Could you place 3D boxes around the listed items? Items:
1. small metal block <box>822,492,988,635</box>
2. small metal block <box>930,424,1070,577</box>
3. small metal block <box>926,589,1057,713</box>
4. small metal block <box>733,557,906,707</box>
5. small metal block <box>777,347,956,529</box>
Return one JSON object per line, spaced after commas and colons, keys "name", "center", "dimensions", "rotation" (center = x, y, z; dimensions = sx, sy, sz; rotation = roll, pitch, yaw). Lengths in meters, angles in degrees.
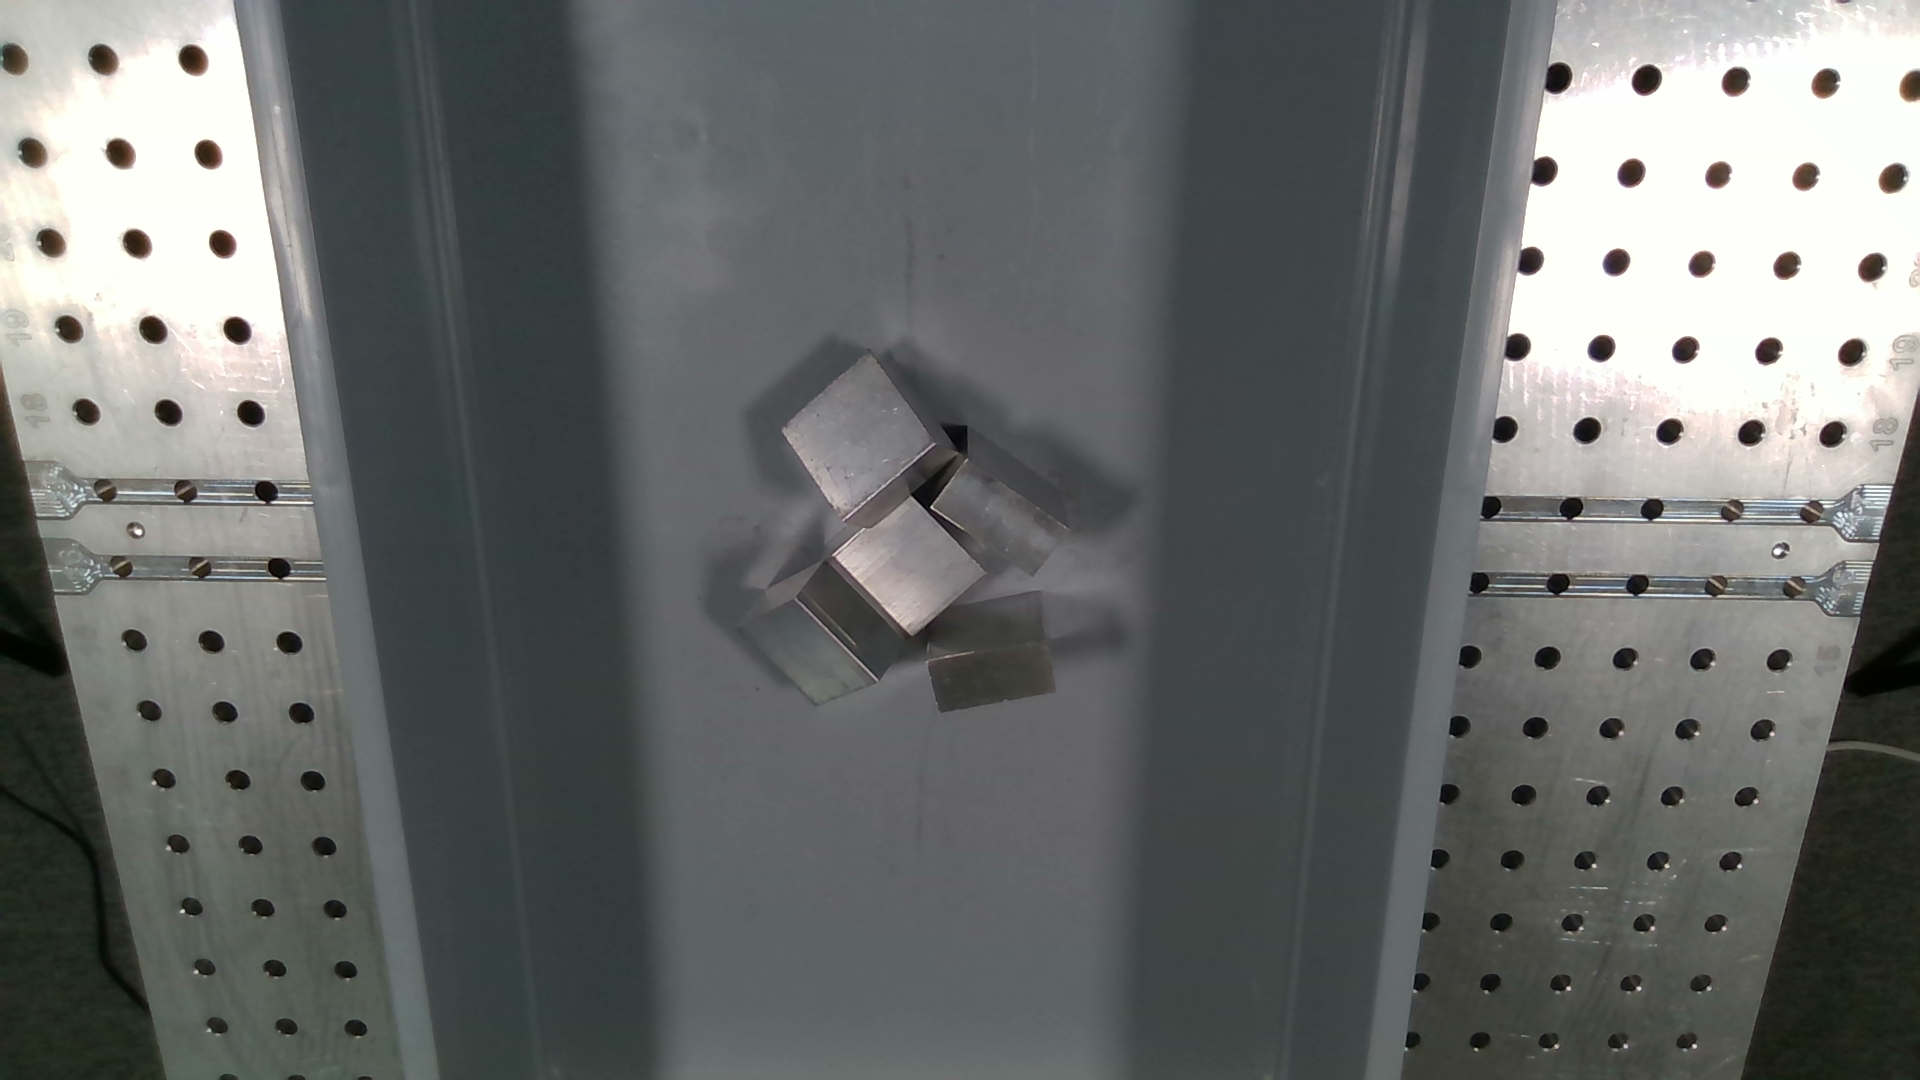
{"name": "small metal block", "center": [-0.024, 0.007, 0.585], "dimensions": [0.050, 0.025, 0.050], "rotation": [-40, 105, 13]}
{"name": "small metal block", "center": [0.016, -0.017, 0.563], "dimensions": [0.050, 0.050, 0.025], "rotation": [35, 106, -12]}
{"name": "small metal block", "center": [0.013, 0.047, 0.587], "dimensions": [0.050, 0.050, 0.025], "rotation": [-11, 111, 4]}
{"name": "small metal block", "center": [-0.060, 0.040, 0.584], "dimensions": [0.050, 0.025, 0.050], "rotation": [47, 140, -15]}
{"name": "small metal block", "center": [-0.037, -0.041, 0.556], "dimensions": [0.050, 0.025, 0.050], "rotation": [-39, 73, 13]}
